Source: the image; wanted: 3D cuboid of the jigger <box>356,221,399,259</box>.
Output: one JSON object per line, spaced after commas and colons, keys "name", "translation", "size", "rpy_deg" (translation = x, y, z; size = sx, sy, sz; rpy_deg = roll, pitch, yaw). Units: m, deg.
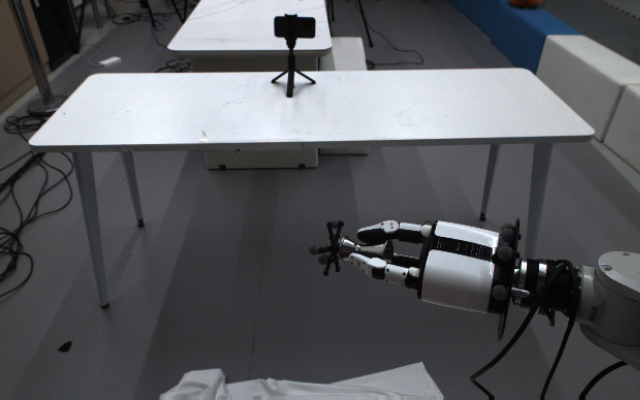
{"name": "jigger", "translation": [0.074, 0.067, 0.694], "size": [0.071, 0.043, 0.043], "rpy_deg": [3, 32, 26]}
